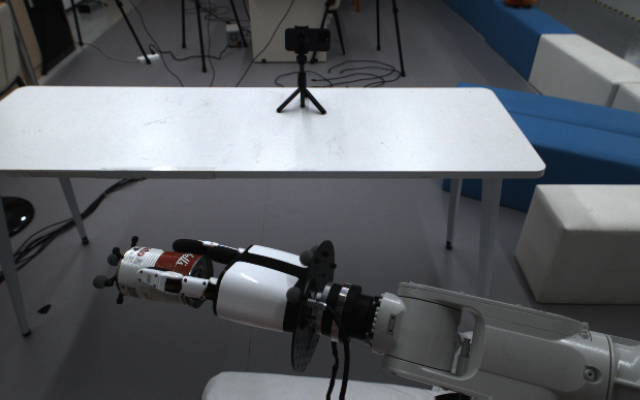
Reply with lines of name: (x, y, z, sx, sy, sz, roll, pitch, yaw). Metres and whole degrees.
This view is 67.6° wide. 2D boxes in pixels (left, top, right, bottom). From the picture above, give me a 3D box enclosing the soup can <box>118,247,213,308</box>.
soup can: (-0.196, 0.100, 0.621, 0.101, 0.067, 0.067, 6, 35, 12)
